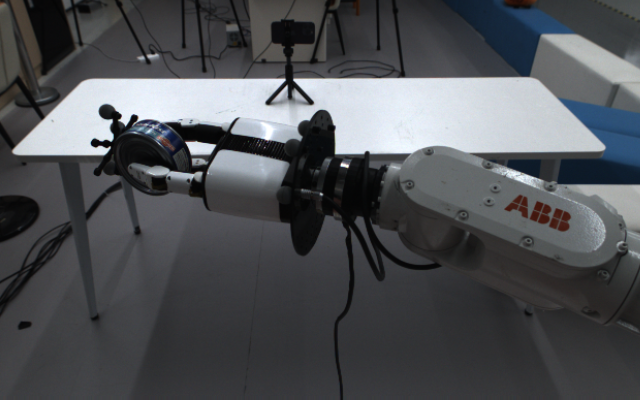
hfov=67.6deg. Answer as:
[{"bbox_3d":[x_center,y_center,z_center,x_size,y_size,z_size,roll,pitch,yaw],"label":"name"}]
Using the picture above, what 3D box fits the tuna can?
[{"bbox_3d":[-0.194,-0.051,0.566,0.085,0.085,0.034,10,36,11],"label":"tuna can"}]
